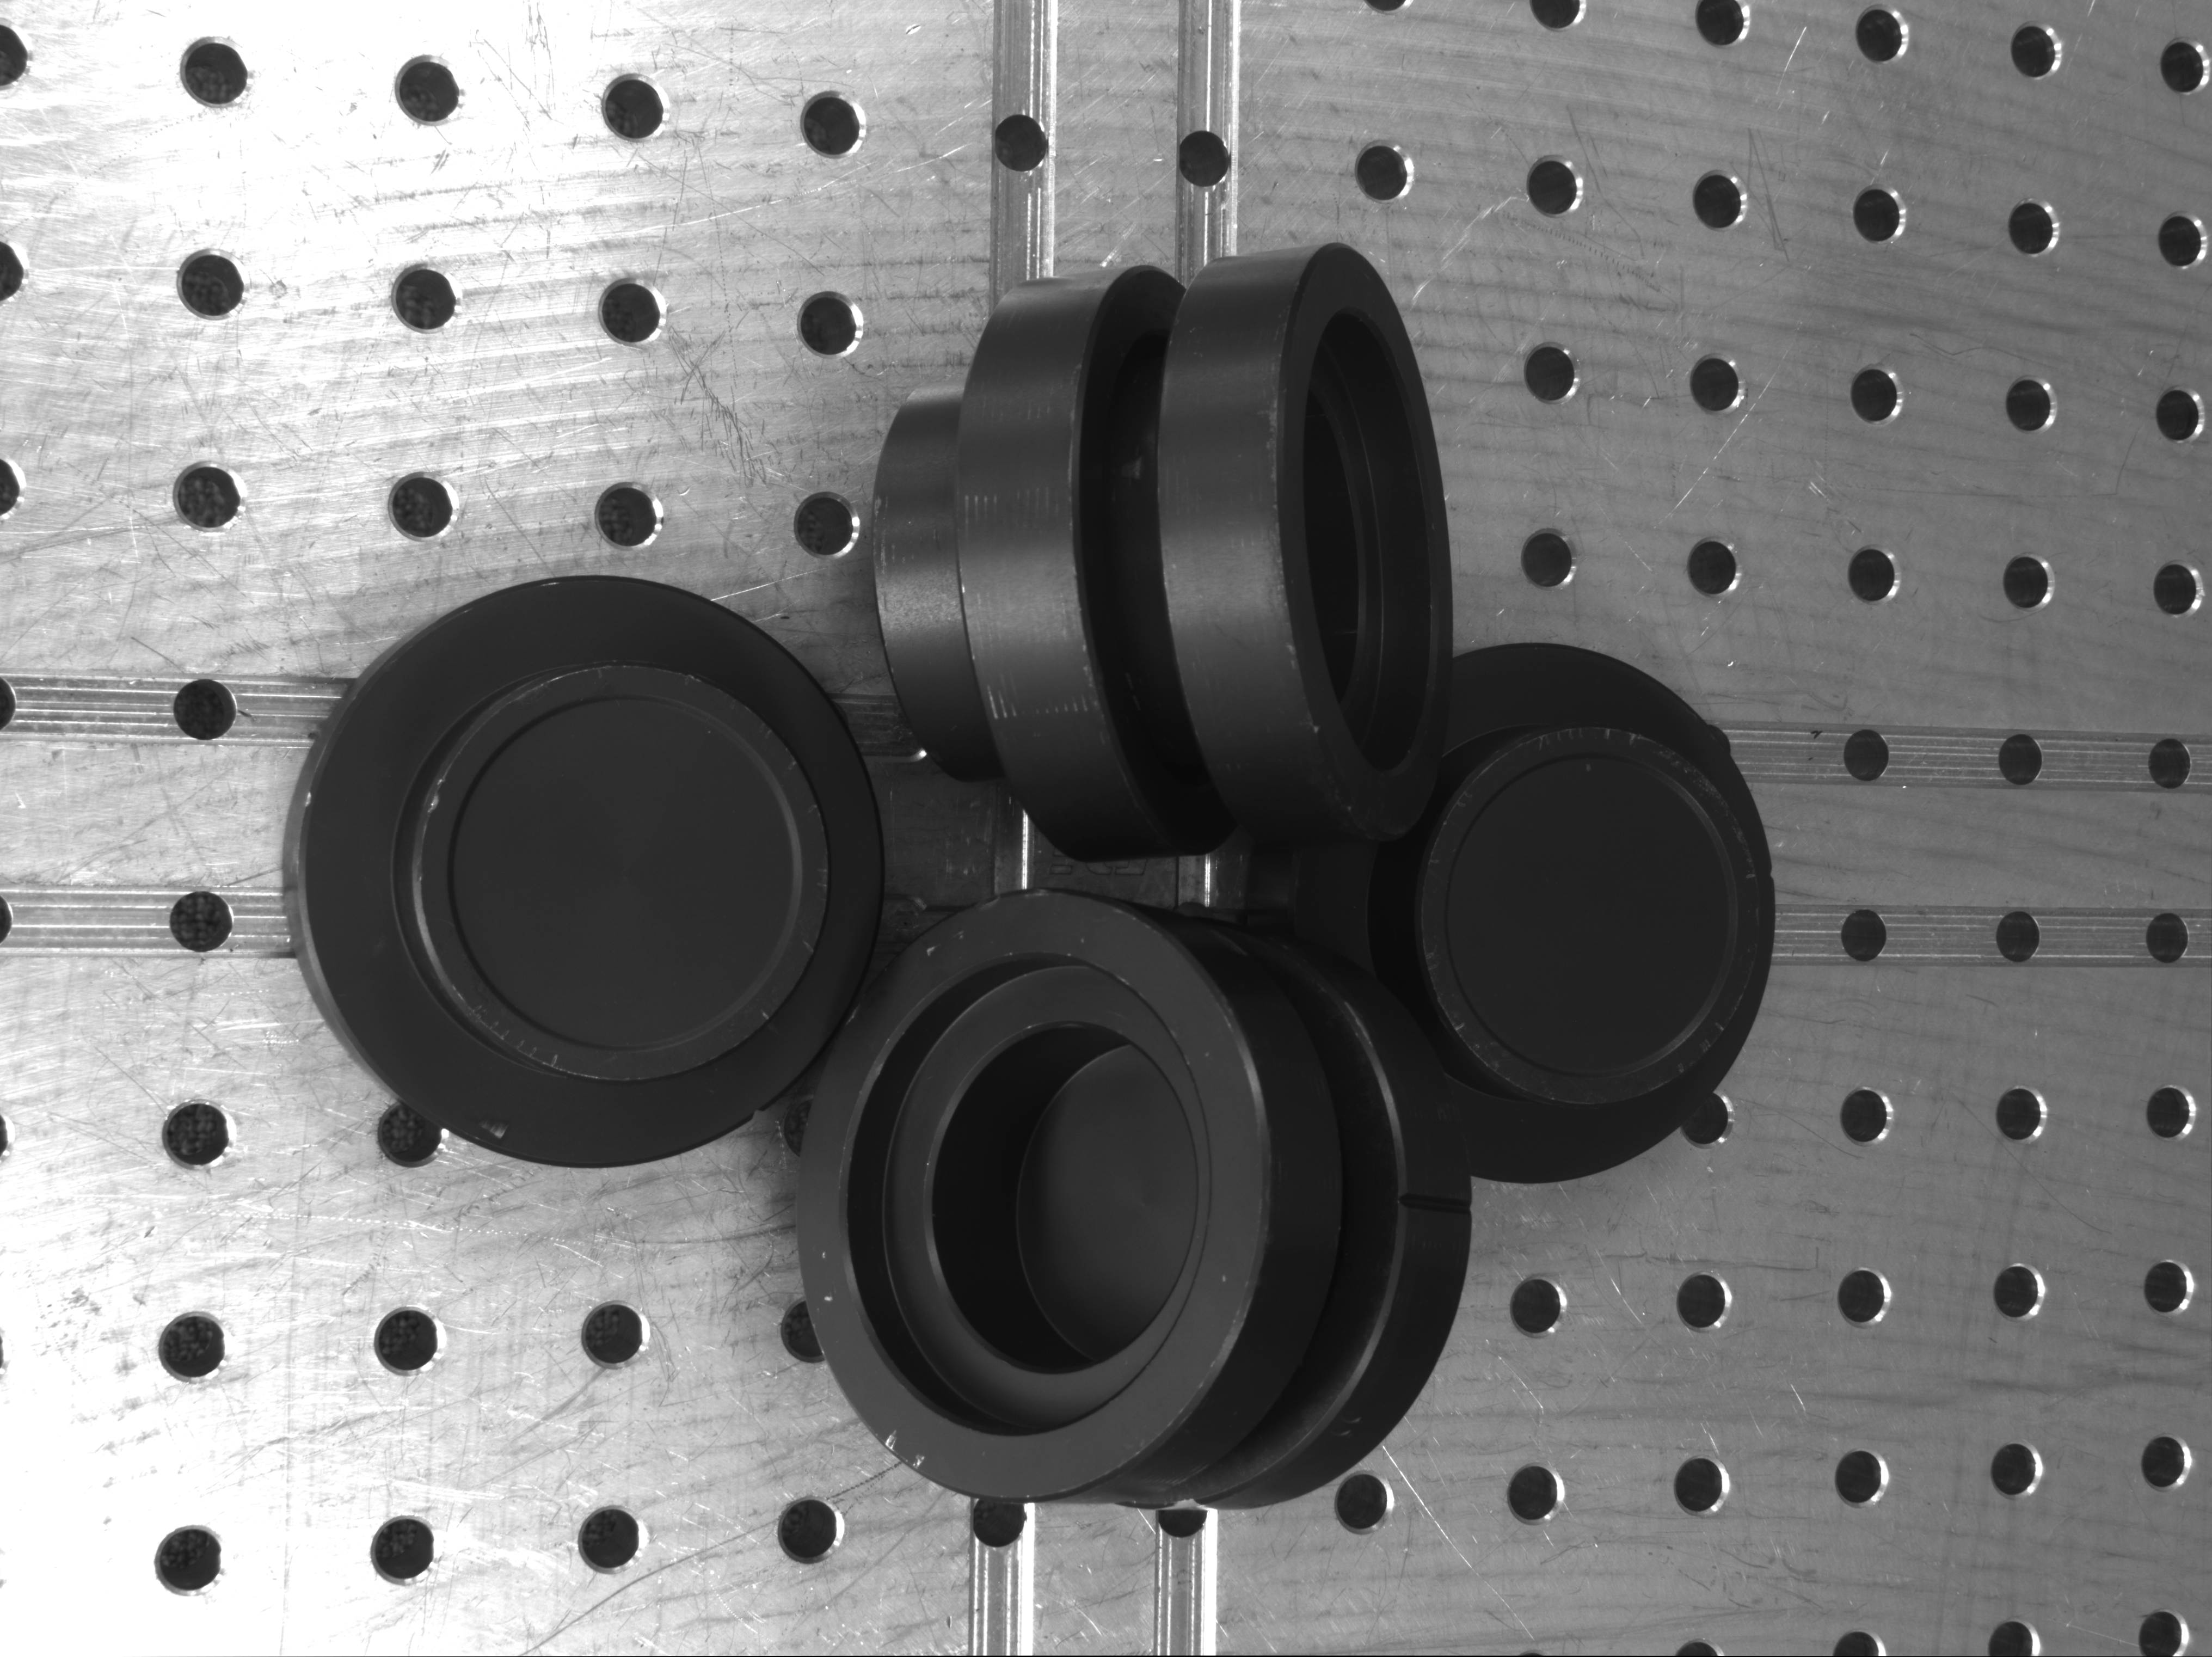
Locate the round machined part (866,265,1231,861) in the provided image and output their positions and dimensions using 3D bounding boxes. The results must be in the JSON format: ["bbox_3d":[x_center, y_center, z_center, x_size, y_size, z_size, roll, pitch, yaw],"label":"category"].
[{"bbox_3d":[-0.007,-0.043,0.617,0.042,0.098,0.098,-5,92,20],"label":"round machined part"}]

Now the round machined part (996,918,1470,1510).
[{"bbox_3d":[0.021,0.066,0.624,0.042,0.098,0.098,14,84,-51],"label":"round machined part"}]

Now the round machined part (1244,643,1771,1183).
[{"bbox_3d":[0.078,0.015,0.665,0.098,0.042,0.098,0,90,-20],"label":"round machined part"}]

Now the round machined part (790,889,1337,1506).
[{"bbox_3d":[-0.002,0.061,0.601,0.042,0.098,0.098,13,85,-51],"label":"round machined part"}]

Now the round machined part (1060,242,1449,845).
[{"bbox_3d":[0.024,-0.046,0.609,0.042,0.098,0.098,-5,92,20],"label":"round machined part"}]

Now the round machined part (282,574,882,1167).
[{"bbox_3d":[-0.084,0.007,0.606,0.098,0.042,0.098,0,90,-20],"label":"round machined part"}]
